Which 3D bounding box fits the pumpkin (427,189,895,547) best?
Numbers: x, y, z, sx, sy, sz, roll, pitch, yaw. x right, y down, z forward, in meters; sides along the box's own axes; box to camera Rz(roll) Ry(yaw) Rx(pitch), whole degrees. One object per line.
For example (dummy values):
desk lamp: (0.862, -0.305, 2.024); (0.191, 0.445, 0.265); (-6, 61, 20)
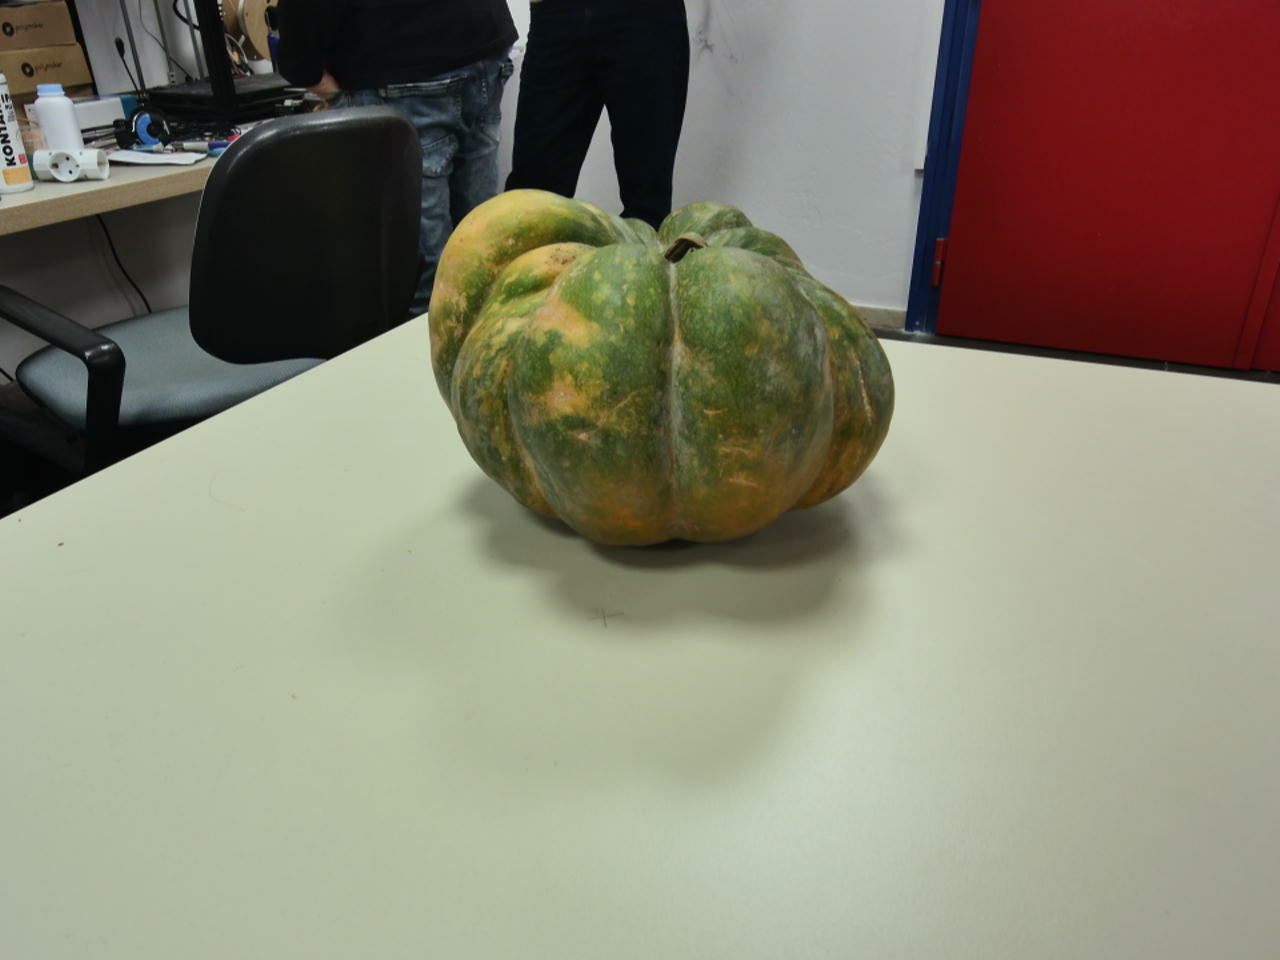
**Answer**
pumpkin: (0.011, -0.069, 0.552); (0.237, 0.173, 0.270); (-13, 28, -25)
